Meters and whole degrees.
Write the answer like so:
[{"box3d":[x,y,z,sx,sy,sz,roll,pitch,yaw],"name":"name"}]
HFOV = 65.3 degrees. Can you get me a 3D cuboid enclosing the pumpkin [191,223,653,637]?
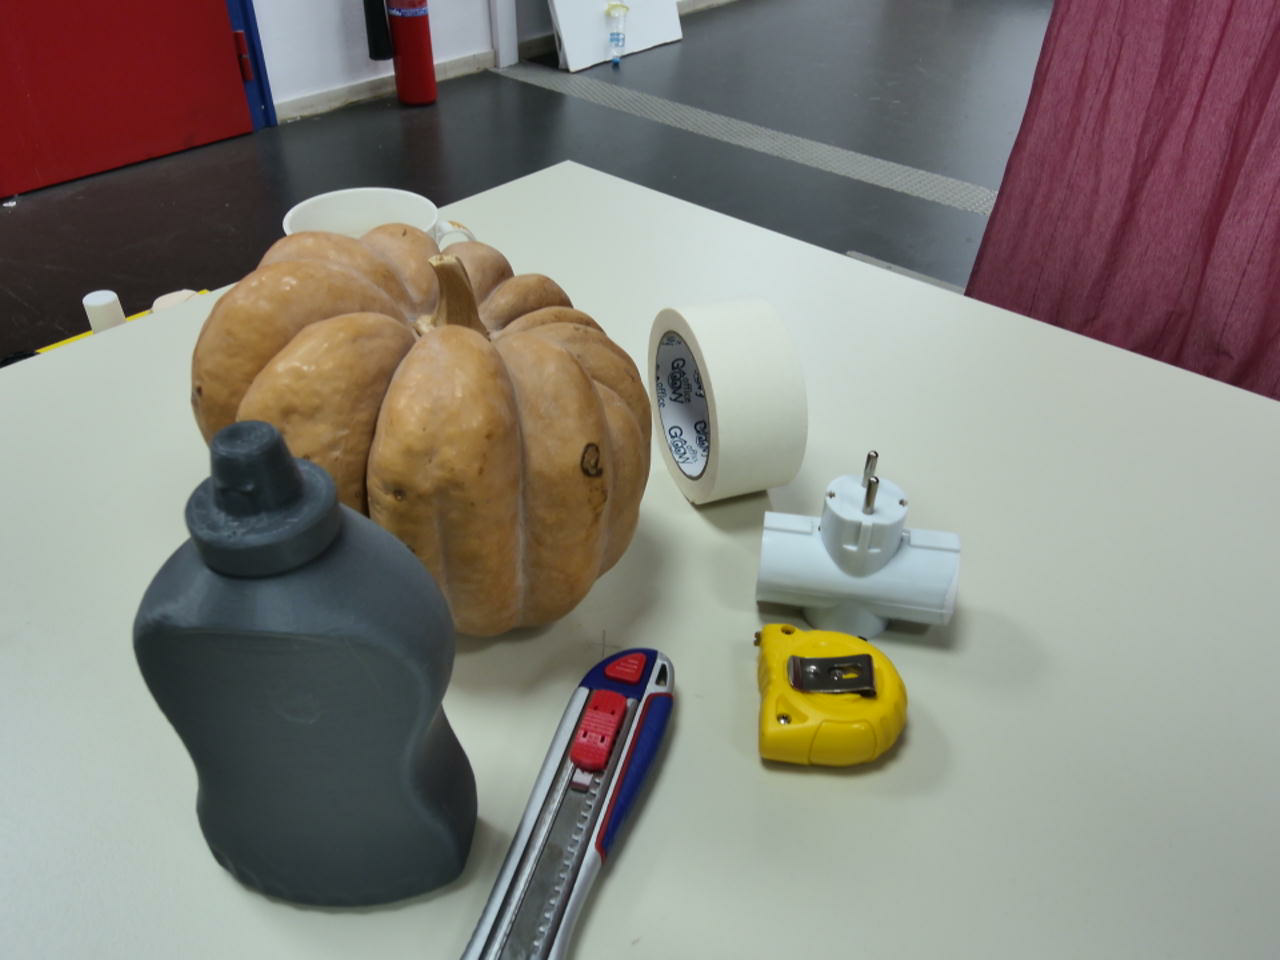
[{"box3d":[-0.091,-0.021,0.448,0.199,0.177,0.198,1,37,-1],"name":"pumpkin"}]
